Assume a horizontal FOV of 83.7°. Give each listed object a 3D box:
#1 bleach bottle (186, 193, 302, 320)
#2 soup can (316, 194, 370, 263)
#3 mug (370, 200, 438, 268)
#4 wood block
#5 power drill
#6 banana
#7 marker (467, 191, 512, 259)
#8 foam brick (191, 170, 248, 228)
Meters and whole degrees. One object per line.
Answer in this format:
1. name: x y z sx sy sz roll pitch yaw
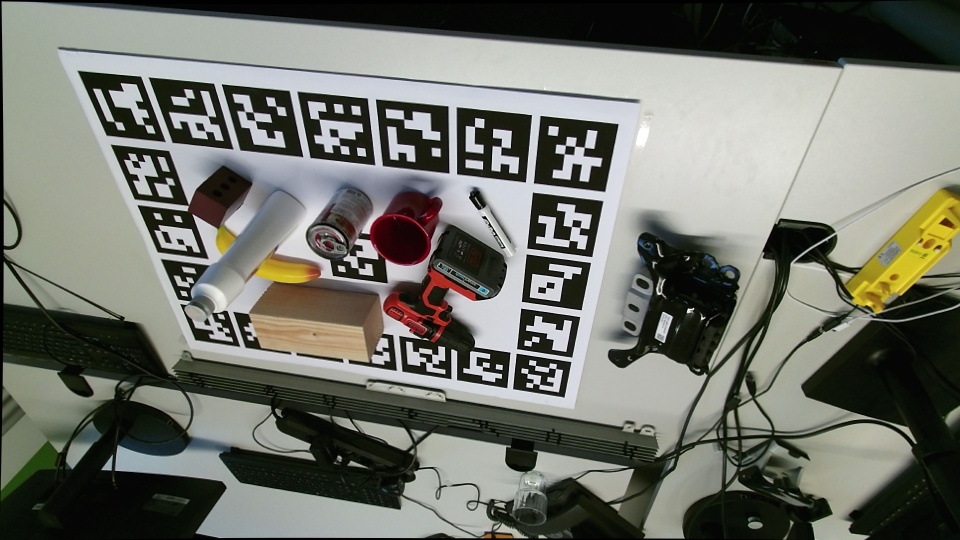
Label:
1. bleach bottle: -0.352 -0.011 0.791 0.068 0.250 0.103 30 128 -11
2. soup can: -0.216 -0.061 0.810 0.068 0.101 0.068 8 131 9
3. mug: -0.106 -0.060 0.806 0.117 0.081 0.093 -37 110 29
4. wood block: -0.296 0.100 0.965 0.207 0.090 0.090 6 126 8
5. power drill: -0.059 0.051 0.903 0.185 0.057 0.187 32 128 -8
6. banana: -0.371 0.006 0.938 0.198 0.039 0.074 21 114 -1
7. marker: 0.014 -0.069 0.817 0.020 0.019 0.121 -20 119 22
8. foam brick: -0.413 -0.109 0.841 0.053 0.078 0.051 33 128 -15
